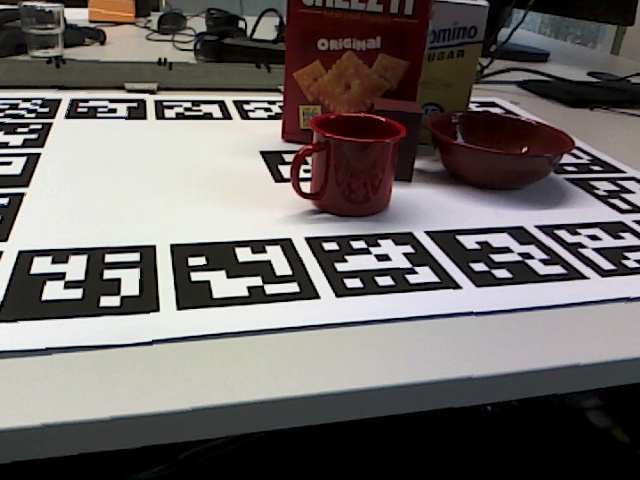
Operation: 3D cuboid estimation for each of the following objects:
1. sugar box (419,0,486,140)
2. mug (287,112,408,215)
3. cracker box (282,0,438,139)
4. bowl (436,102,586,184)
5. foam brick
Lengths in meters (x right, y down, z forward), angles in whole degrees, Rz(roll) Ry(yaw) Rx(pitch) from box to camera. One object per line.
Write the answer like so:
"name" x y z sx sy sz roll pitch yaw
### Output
"sugar box" 0.148 -0.218 0.787 0.093 0.176 0.045 7 28 5
"mug" 0.024 -0.072 0.588 0.116 0.081 0.094 -9 23 -21
"cracker box" 0.046 -0.222 0.741 0.165 0.213 0.072 12 26 12
"bowl" 0.207 -0.106 0.693 0.161 0.055 0.162 4 29 -2
"foam brick" 0.080 -0.112 0.692 0.053 0.078 0.051 4 27 0
